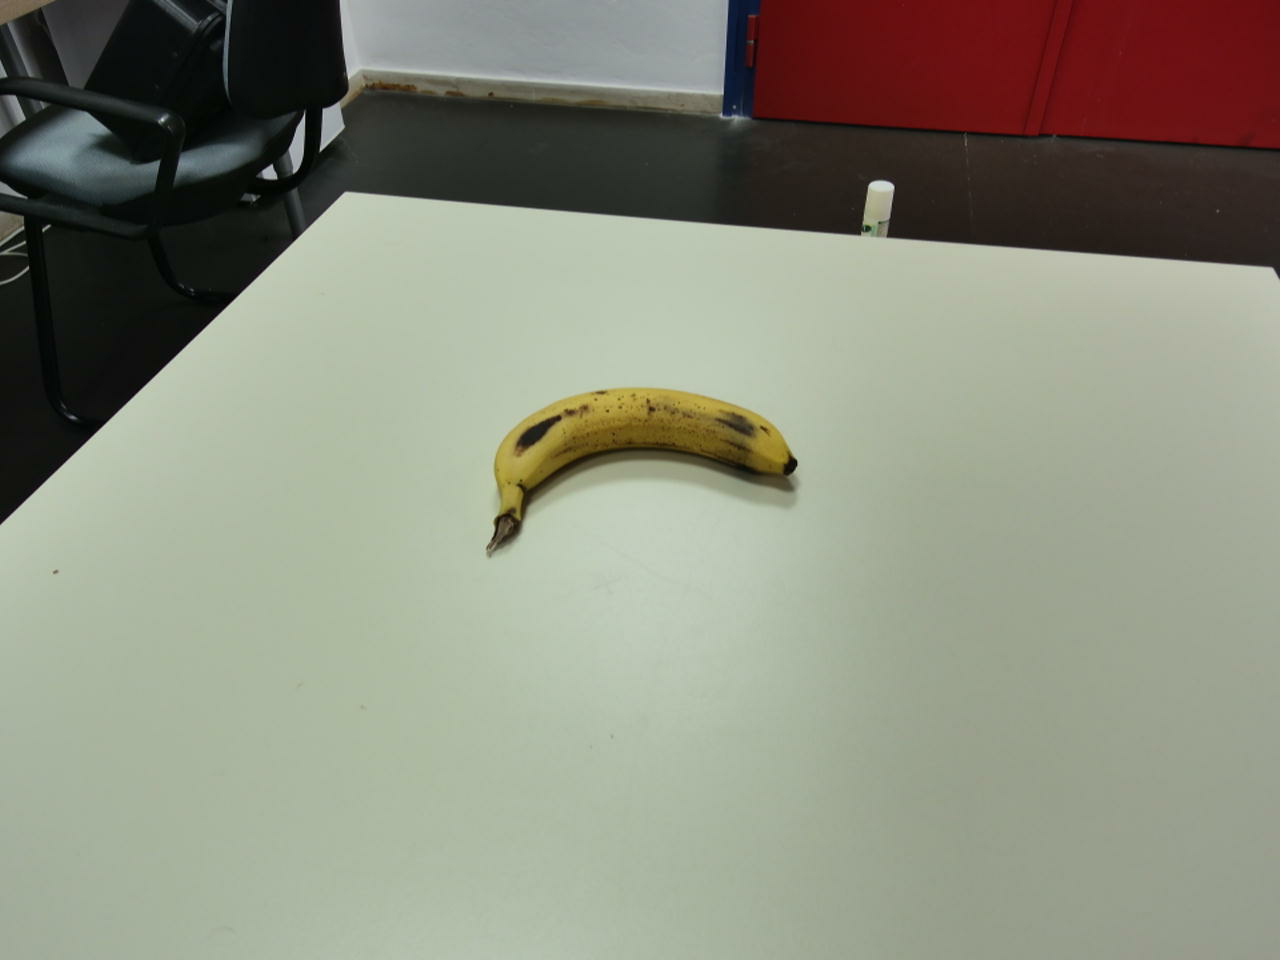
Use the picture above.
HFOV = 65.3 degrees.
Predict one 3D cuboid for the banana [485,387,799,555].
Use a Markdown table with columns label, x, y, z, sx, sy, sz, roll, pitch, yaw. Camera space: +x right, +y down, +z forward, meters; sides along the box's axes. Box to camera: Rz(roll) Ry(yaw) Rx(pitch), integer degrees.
| label | x | y | z | sx | sy | sz | roll | pitch | yaw |
| --- | --- | --- | --- | --- | --- | --- | --- | --- | --- |
| banana | -0.005 | -0.020 | 0.615 | 0.186 | 0.038 | 0.097 | -10 | 40 | -12 |
